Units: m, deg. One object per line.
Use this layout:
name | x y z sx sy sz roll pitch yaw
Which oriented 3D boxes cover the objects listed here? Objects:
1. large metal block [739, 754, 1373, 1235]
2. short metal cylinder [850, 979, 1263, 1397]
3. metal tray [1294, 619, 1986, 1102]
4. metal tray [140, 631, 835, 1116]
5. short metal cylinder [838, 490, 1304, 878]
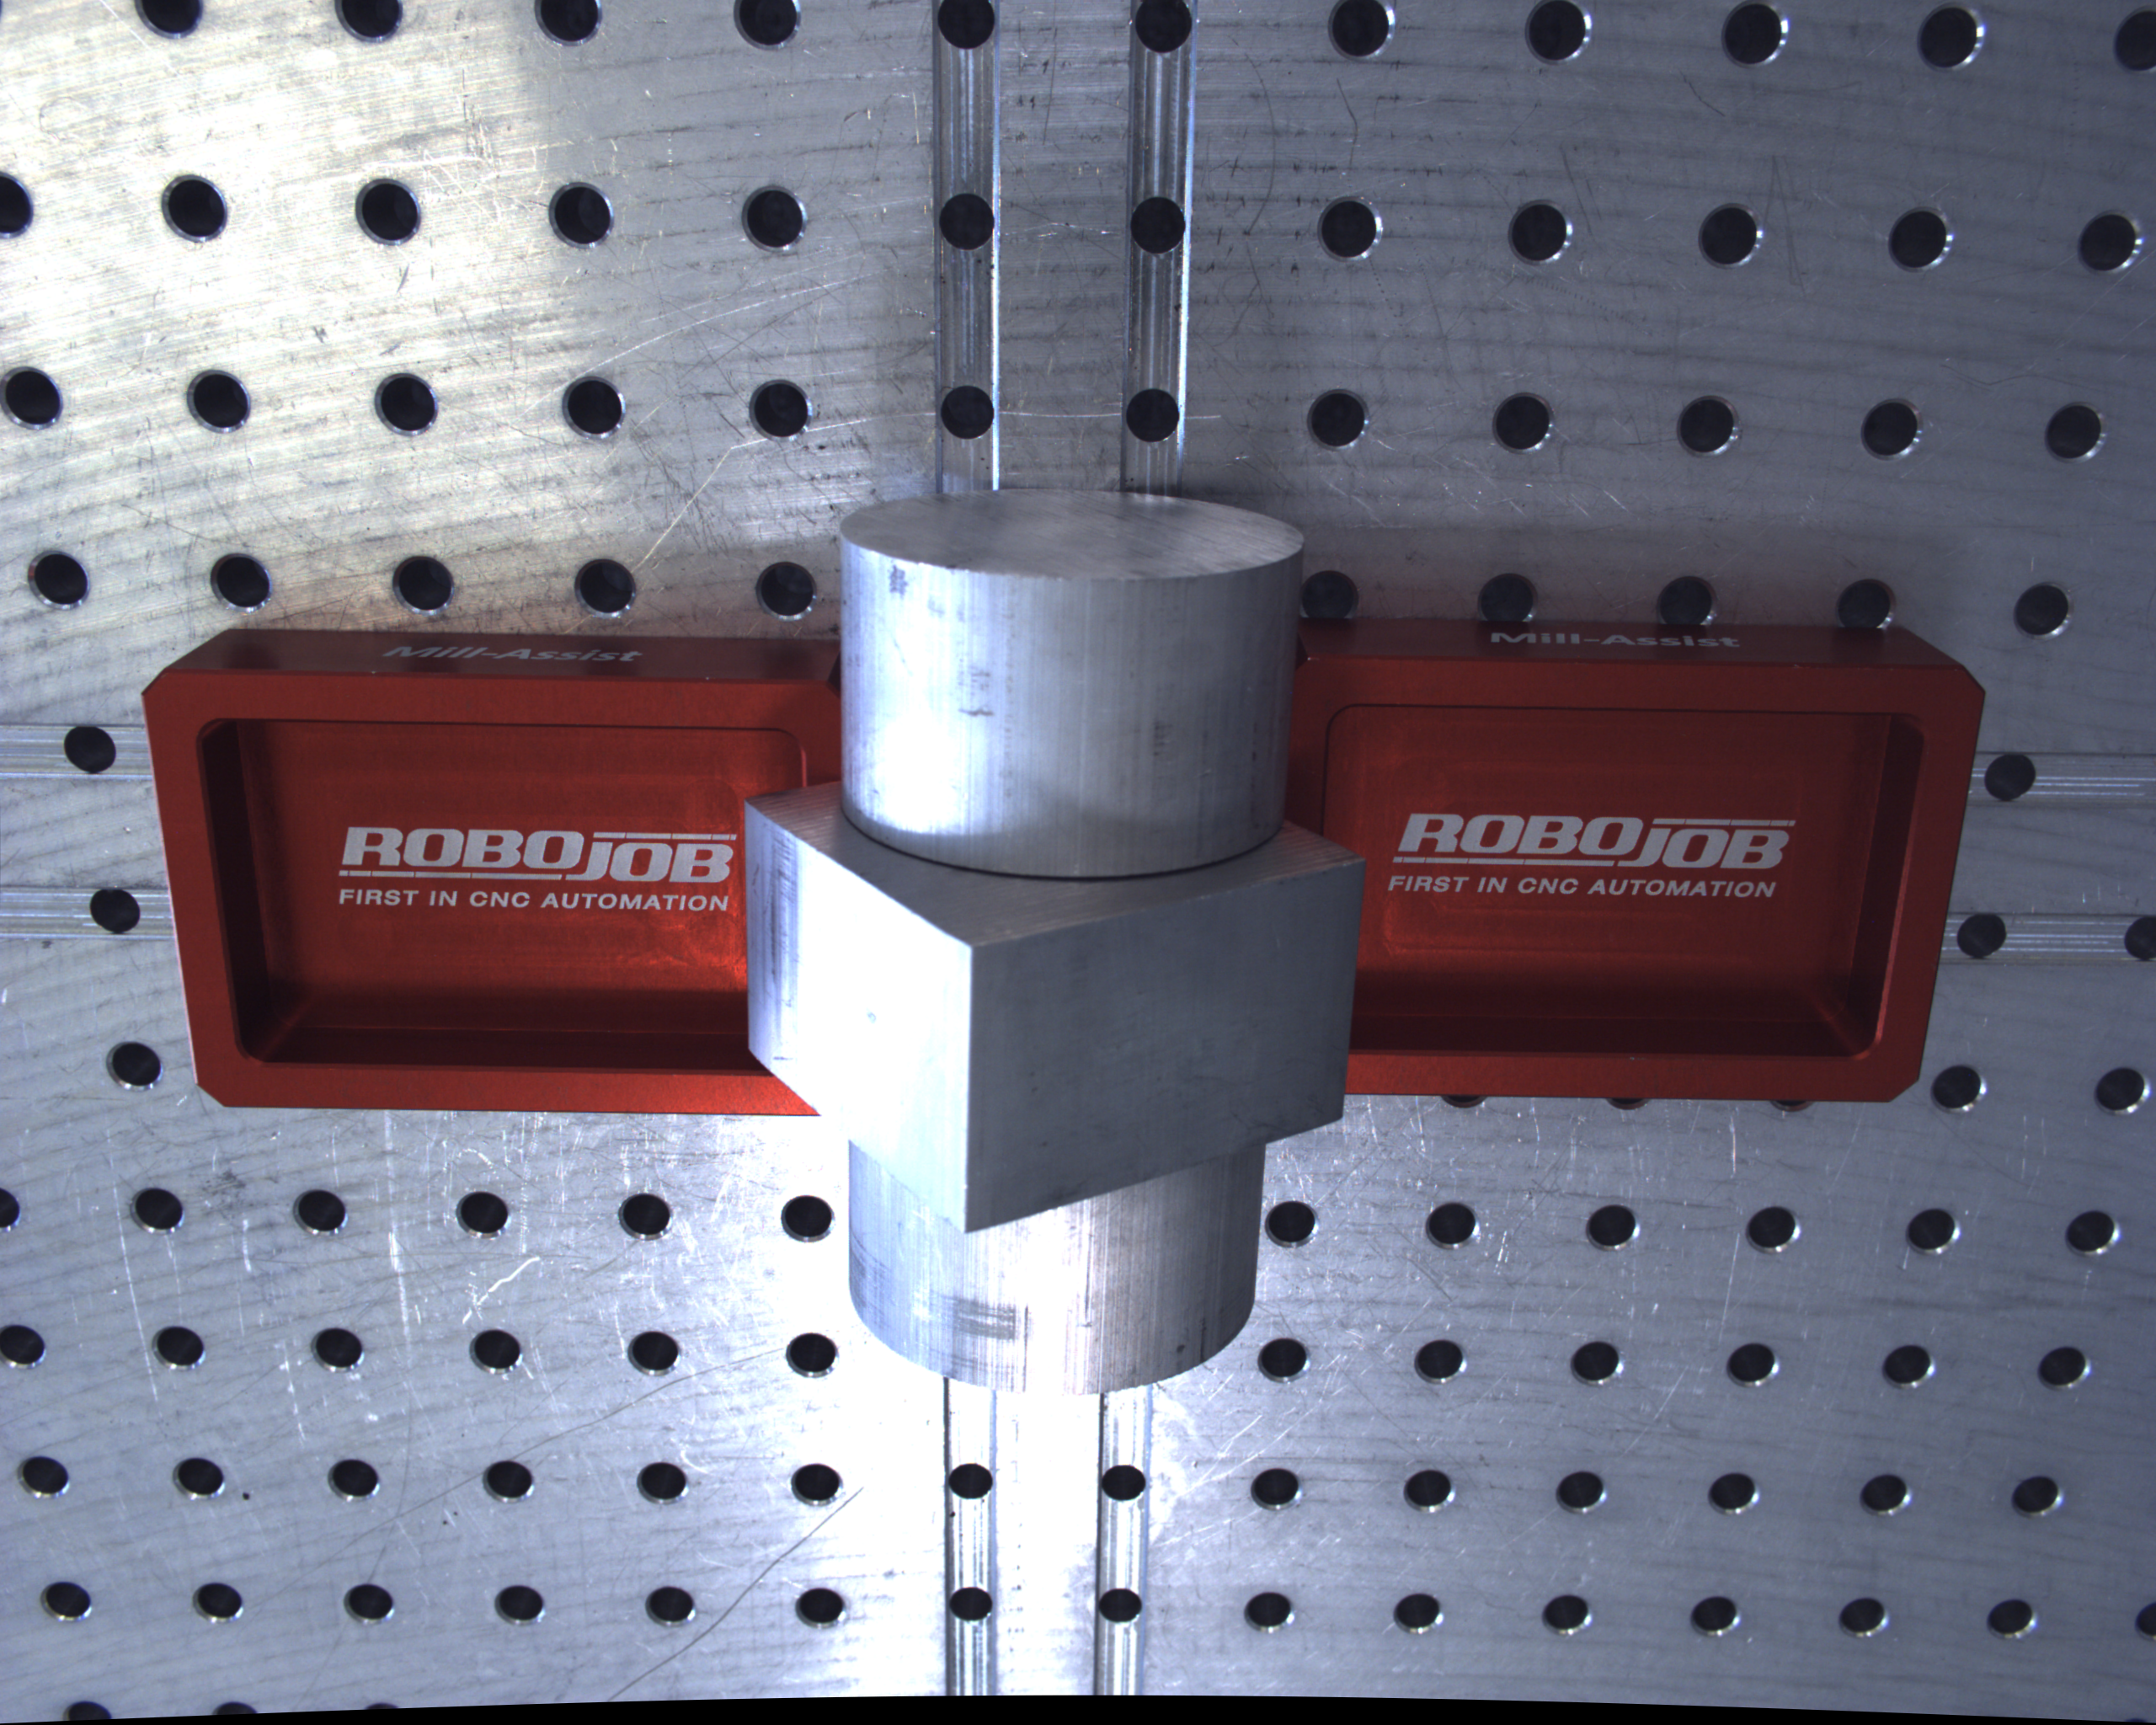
large metal block | -0.006 0.017 0.375 0.081 0.080 0.050 -11 114 -33
short metal cylinder | -0.004 0.059 0.405 0.081 0.080 0.050 2 110 -1
metal tray | 0.102 0.000 0.411 0.131 0.030 0.089 1 110 -1
metal tray | -0.107 0.003 0.410 0.131 0.030 0.089 1 110 -1
short metal cylinder | -0.002 -0.035 0.371 0.081 0.080 0.050 1 110 -1
